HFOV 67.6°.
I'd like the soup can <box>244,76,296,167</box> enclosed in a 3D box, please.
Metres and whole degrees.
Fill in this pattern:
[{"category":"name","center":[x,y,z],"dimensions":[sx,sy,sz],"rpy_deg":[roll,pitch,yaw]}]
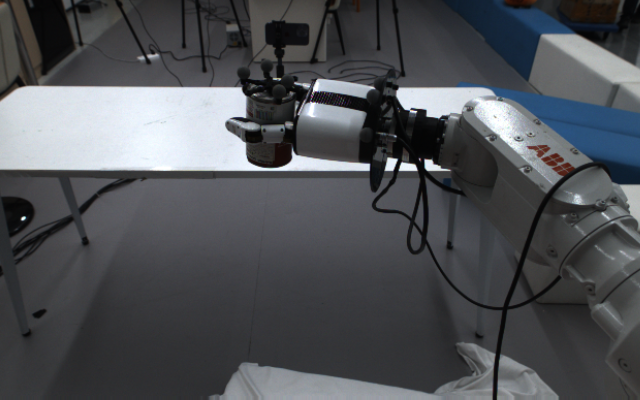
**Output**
[{"category":"soup can","center":[-0.068,-0.104,0.664],"dimensions":[0.067,0.101,0.067],"rpy_deg":[5,37,-4]}]
